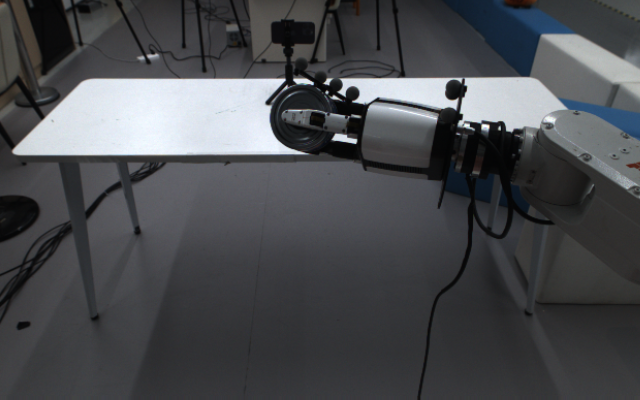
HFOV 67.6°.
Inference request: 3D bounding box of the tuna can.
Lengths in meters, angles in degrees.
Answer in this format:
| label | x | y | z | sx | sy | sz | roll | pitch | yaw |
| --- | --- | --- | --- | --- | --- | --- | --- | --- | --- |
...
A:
| label | x | y | z | sx | sy | sz | roll | pitch | yaw |
| --- | --- | --- | --- | --- | --- | --- | --- | --- | --- |
| tuna can | -0.020 | -0.107 | 0.630 | 0.085 | 0.085 | 0.034 | 12 | 4 | 15 |
